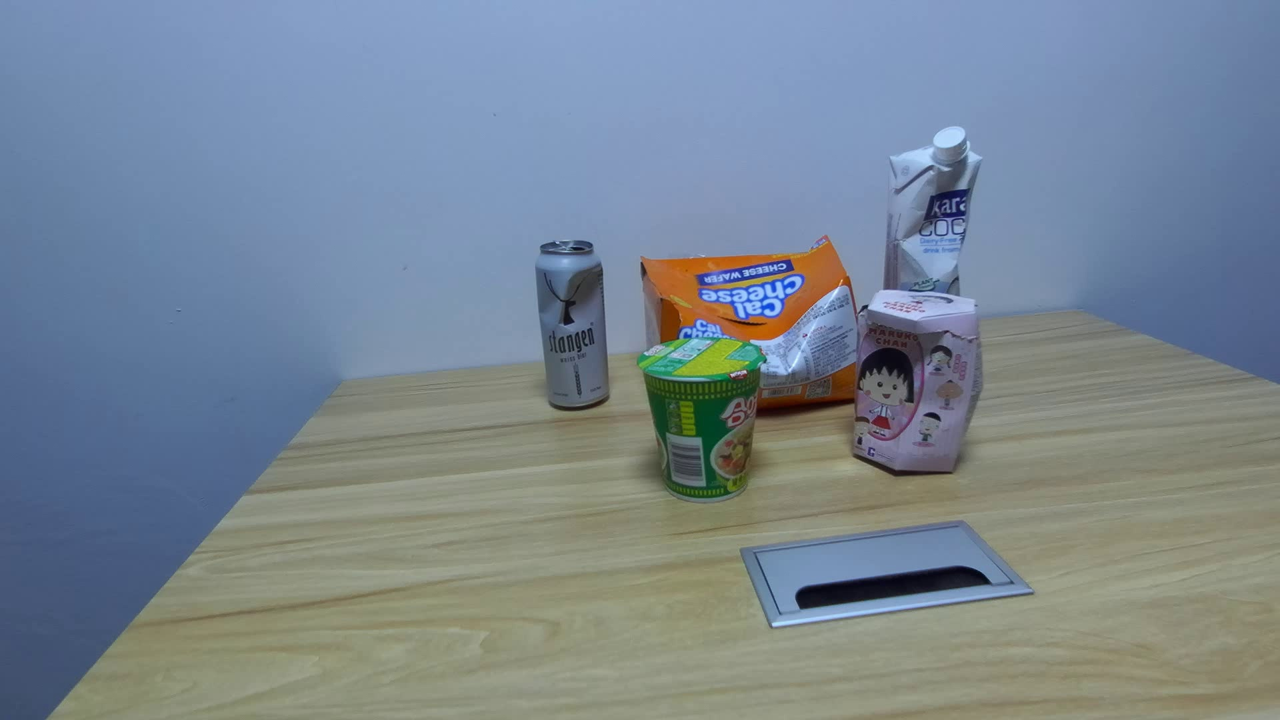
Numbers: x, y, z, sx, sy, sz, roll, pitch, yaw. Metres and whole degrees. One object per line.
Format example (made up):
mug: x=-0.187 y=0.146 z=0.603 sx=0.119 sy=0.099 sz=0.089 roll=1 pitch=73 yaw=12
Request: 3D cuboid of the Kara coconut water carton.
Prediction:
Kara coconut water carton: x=0.296 y=-0.107 z=0.734 sx=0.083 sy=0.255 sz=0.078 roll=-6 pitch=21 yaw=-5

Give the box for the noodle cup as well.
noodle cup: x=0.049 y=0.048 z=0.554 sx=0.097 sy=0.110 sz=0.097 roll=-3 pitch=19 yaw=1

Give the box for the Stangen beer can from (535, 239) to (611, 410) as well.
Stangen beer can: x=-0.068 y=-0.037 z=0.734 sx=0.070 sy=0.173 sz=0.069 roll=-5 pitch=18 yaw=-3

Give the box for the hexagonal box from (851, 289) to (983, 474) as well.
hexagonal box: x=0.225 y=0.016 z=0.581 sx=0.090 sy=0.134 sz=0.091 roll=1 pitch=19 yaw=5

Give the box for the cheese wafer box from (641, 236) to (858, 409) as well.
cheese wafer box: x=0.118 y=-0.036 z=0.735 sx=0.219 sy=0.145 sz=0.191 roll=-4 pitch=19 yaw=-4
